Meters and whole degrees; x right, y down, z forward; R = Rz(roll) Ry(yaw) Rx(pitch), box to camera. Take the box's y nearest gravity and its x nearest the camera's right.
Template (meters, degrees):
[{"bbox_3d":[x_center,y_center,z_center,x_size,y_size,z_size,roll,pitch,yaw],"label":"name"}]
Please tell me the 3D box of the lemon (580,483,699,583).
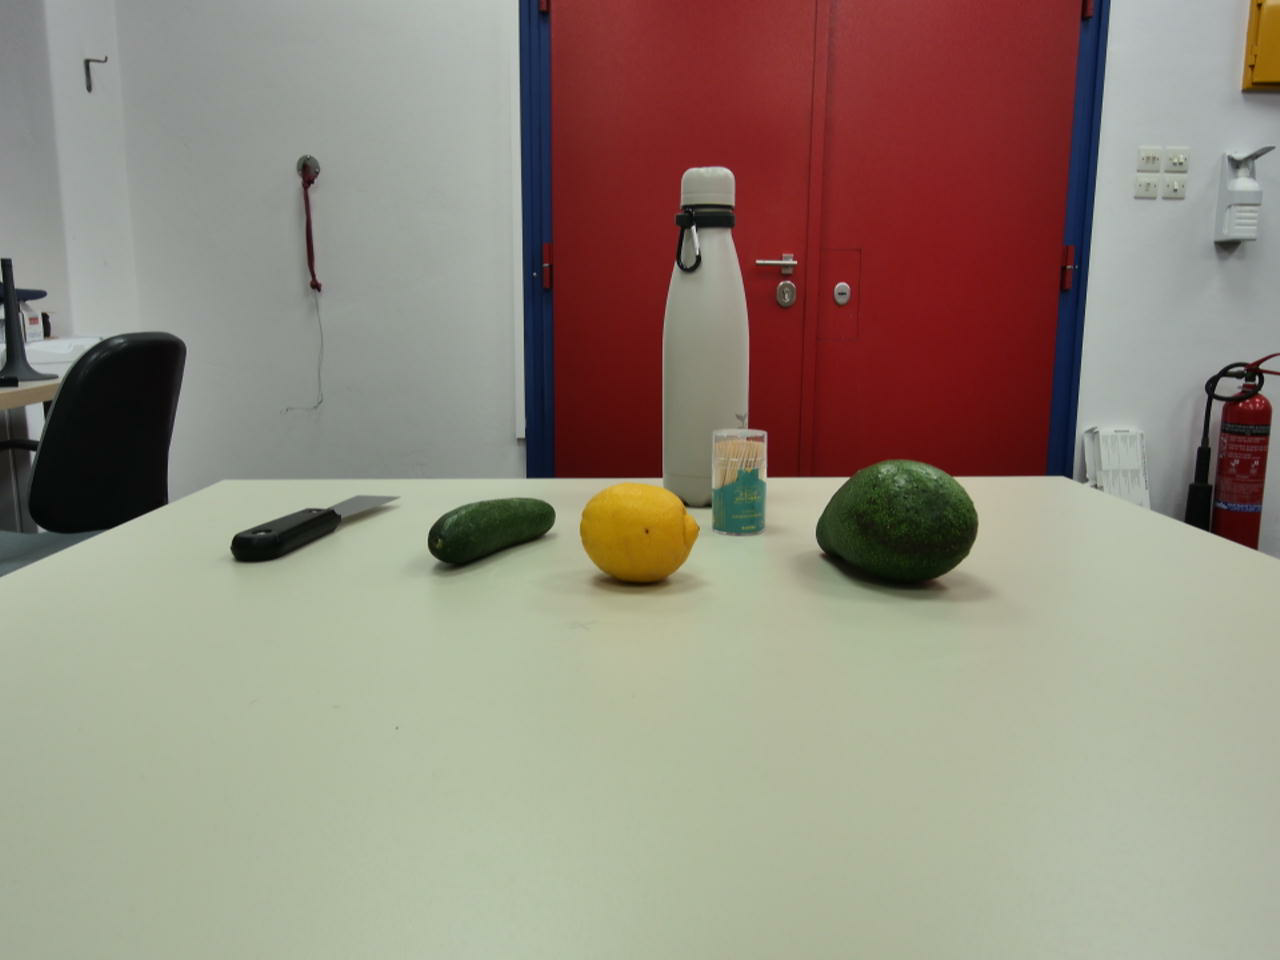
[{"bbox_3d":[-0.002,0.032,0.602,0.067,0.059,0.060,8,10,41],"label":"lemon"}]
